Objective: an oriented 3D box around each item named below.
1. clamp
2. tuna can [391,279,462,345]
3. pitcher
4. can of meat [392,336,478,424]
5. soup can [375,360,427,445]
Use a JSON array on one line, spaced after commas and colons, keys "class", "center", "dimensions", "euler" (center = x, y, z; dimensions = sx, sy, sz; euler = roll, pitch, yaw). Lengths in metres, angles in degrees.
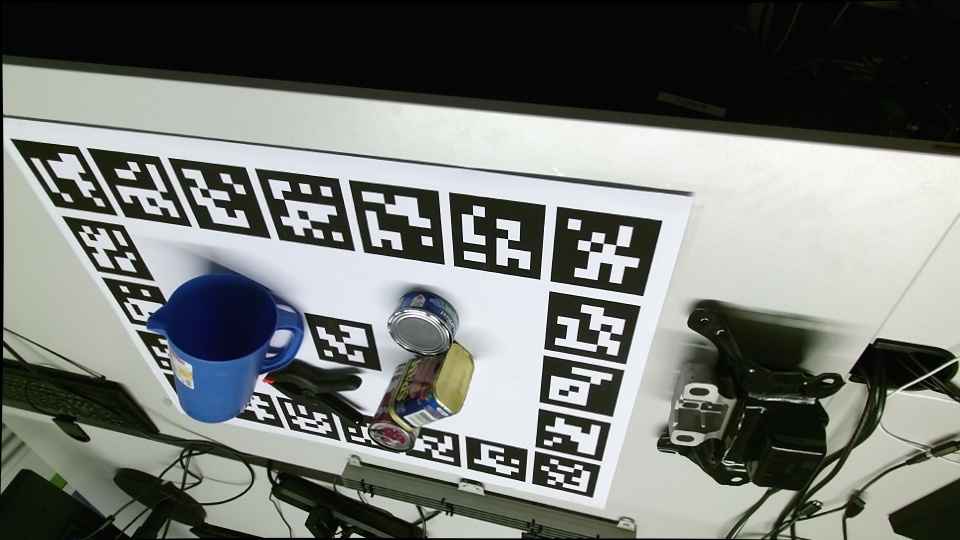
[{"class": "clamp", "center": [-0.243, 0.183, 0.856], "dimensions": [0.165, 0.036, 0.122], "euler": [12, 135, 13]}, {"class": "tuna can", "center": [-0.067, 0.053, 0.683], "dimensions": [0.086, 0.033, 0.086], "euler": [8, 128, 11]}, {"class": "pitcher", "center": [-0.368, 0.118, 0.762], "dimensions": [0.190, 0.132, 0.243], "euler": [9, 141, -19]}, {"class": "can of meat", "center": [-0.057, 0.141, 0.703], "dimensions": [0.084, 0.101, 0.058], "euler": [-26, 115, 28]}, {"class": "soup can", "center": [-0.101, 0.185, 0.758], "dimensions": [0.068, 0.101, 0.068], "euler": [7, 128, 9]}]
